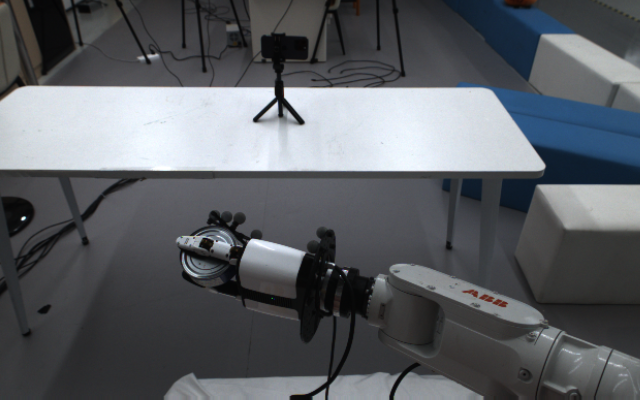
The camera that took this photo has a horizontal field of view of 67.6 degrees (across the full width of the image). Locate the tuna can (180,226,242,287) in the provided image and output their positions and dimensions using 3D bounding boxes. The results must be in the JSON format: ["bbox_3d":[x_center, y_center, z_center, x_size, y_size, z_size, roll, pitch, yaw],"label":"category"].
[{"bbox_3d":[-0.156,0.082,0.704,0.085,0.034,0.085,-4,56,6],"label":"tuna can"}]
